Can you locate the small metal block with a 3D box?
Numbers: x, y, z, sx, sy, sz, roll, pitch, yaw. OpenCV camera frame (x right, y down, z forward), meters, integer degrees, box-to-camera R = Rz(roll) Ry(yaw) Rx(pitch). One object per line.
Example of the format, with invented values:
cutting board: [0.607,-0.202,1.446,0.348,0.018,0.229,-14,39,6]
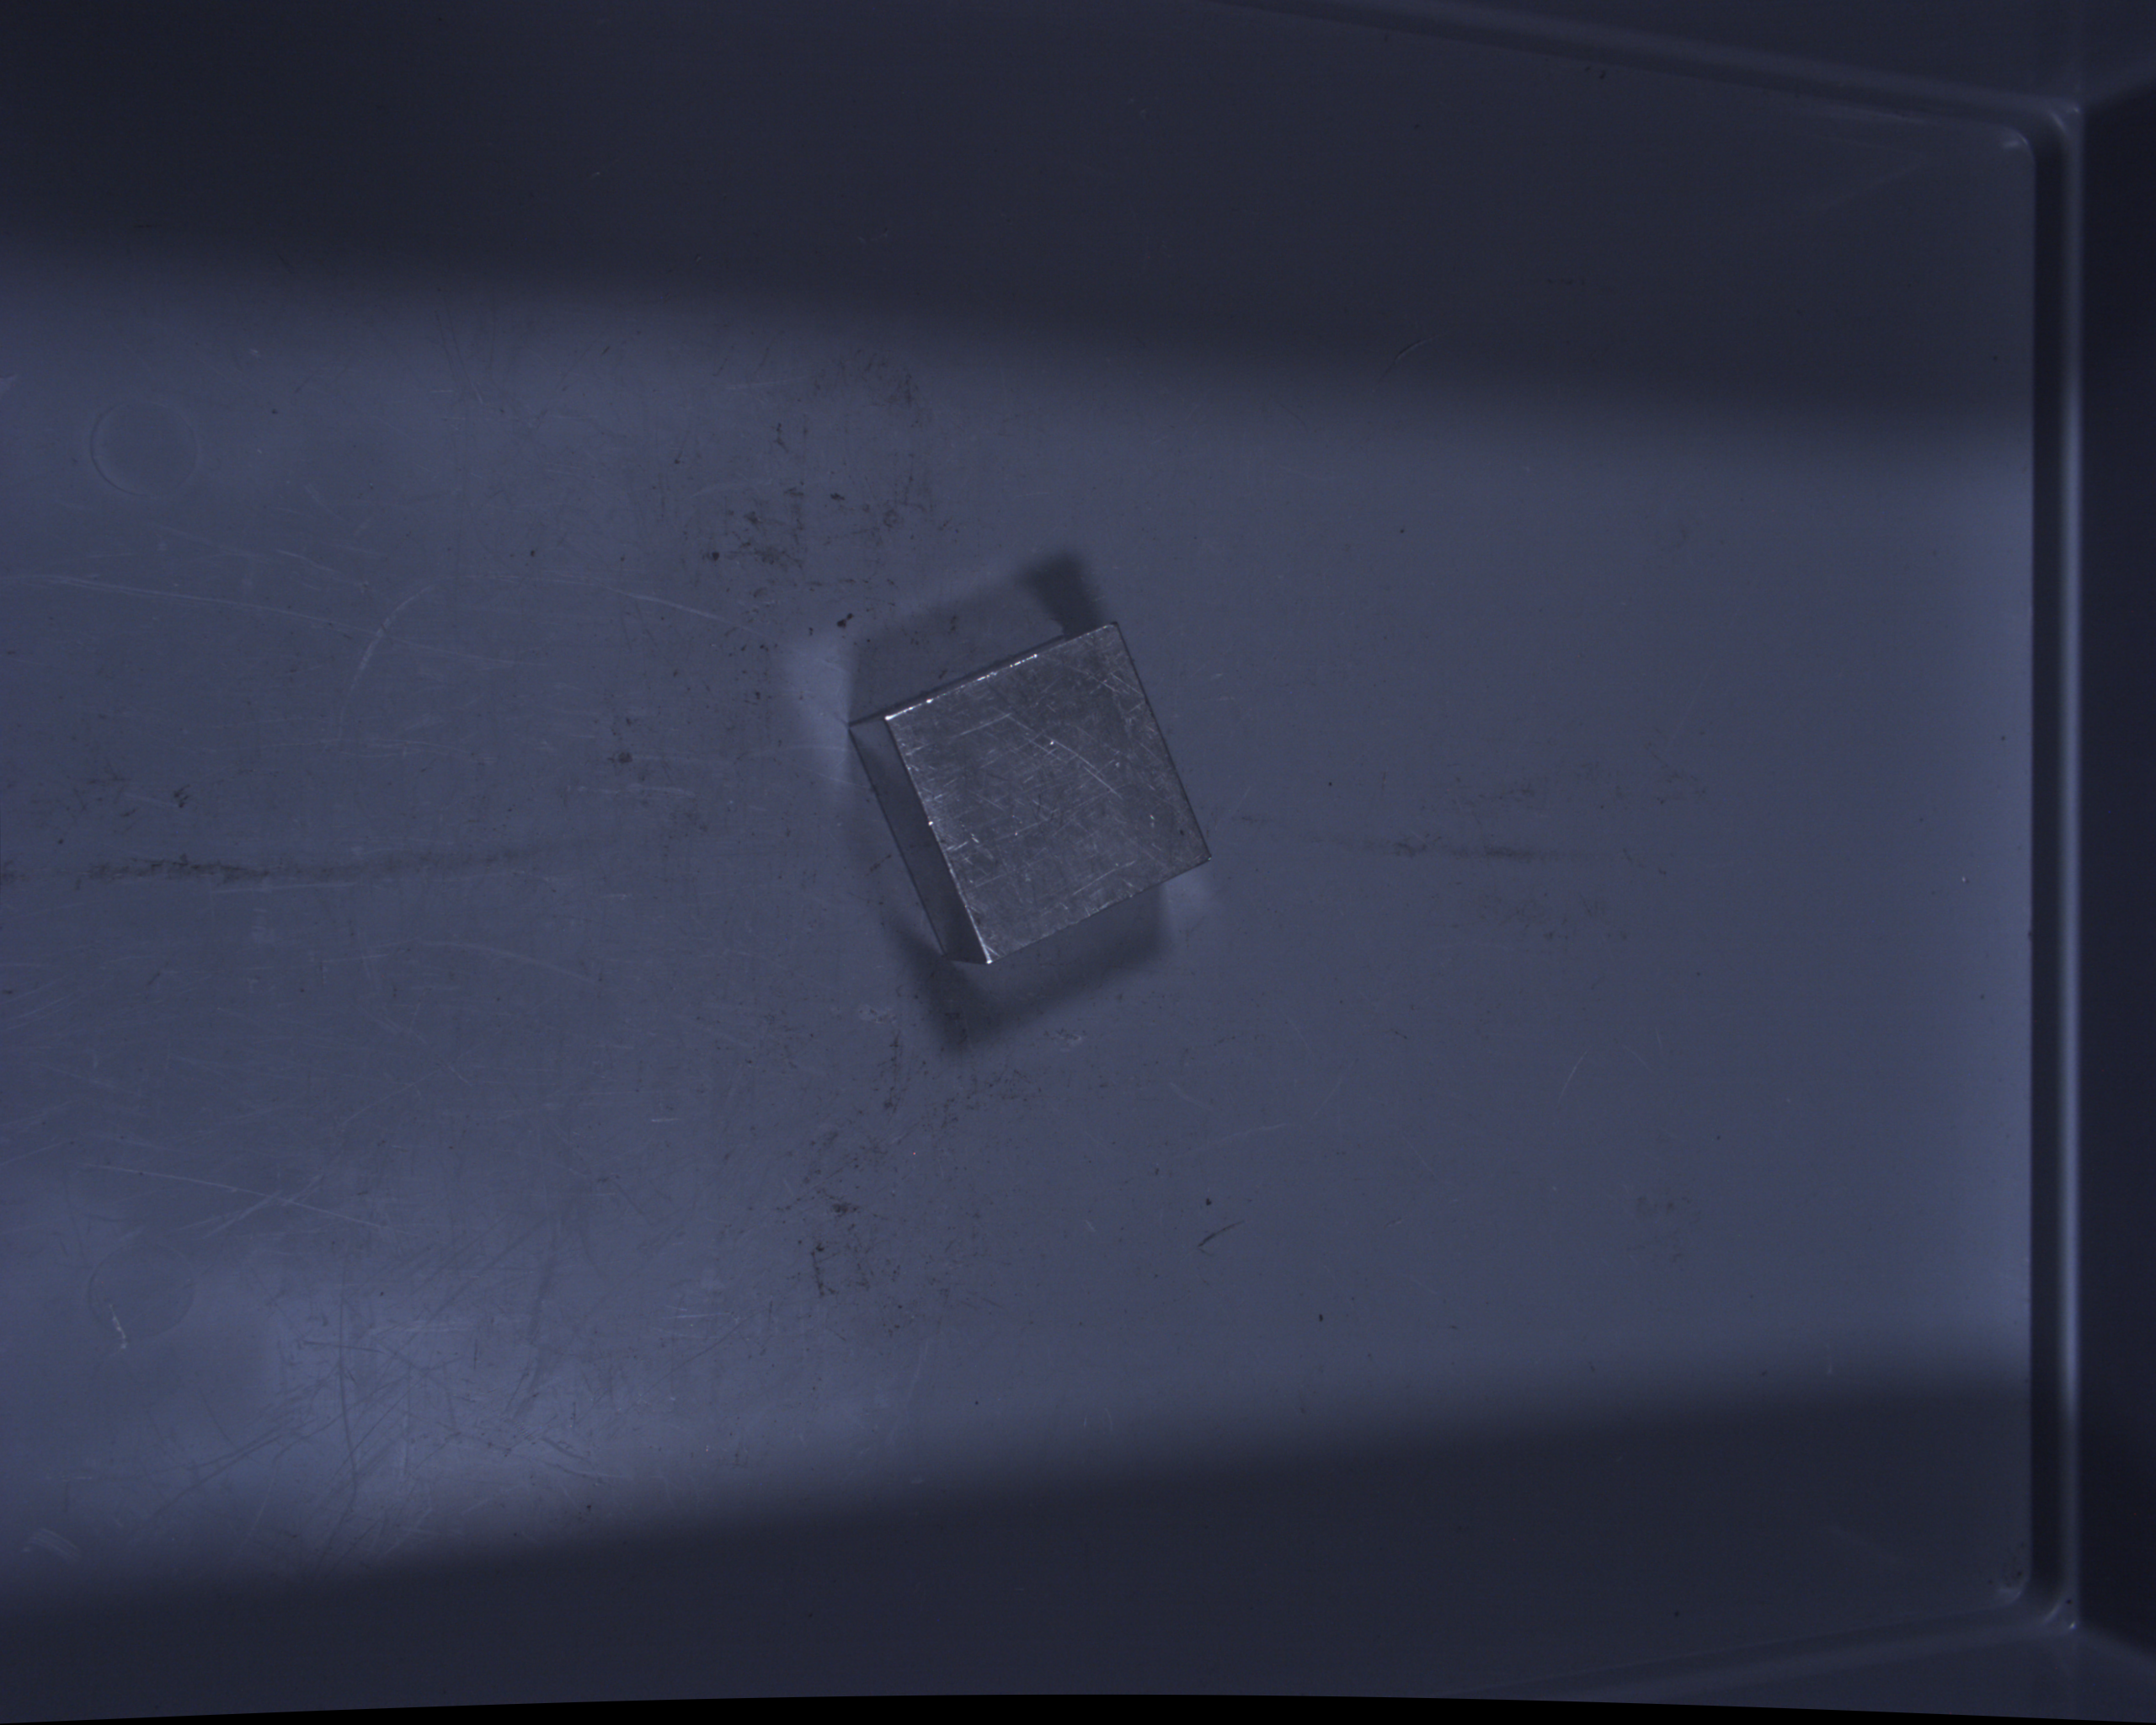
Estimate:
small metal block: [-0.009,-0.014,0.404,0.050,0.025,0.050,-25,99,-19]
